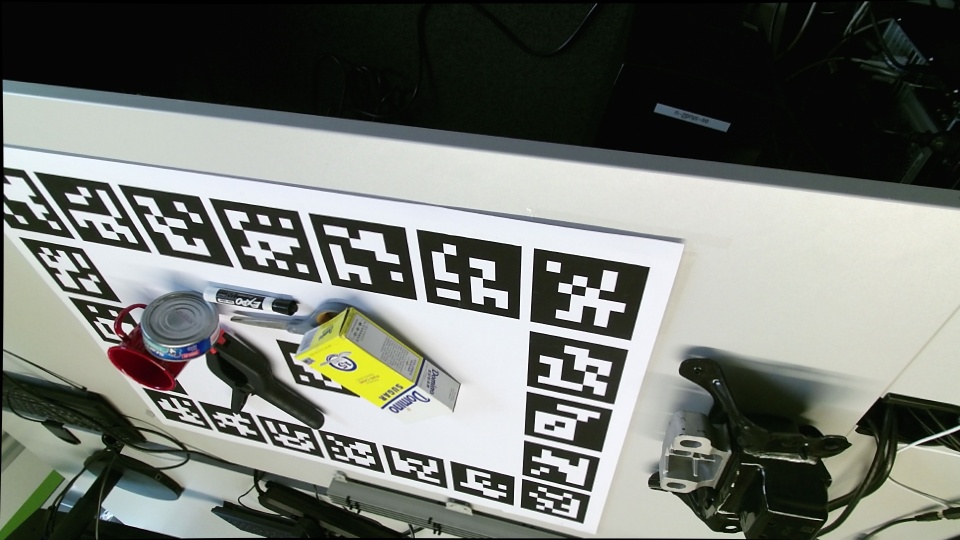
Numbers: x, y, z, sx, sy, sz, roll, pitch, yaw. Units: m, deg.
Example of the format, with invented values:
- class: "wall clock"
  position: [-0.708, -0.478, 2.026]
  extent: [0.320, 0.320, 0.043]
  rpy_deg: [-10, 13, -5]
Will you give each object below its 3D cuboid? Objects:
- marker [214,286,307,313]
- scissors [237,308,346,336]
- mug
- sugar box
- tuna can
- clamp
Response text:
- class: "marker"
  position: [-0.264, 0.036, 0.646]
  extent: [0.121, 0.019, 0.019]
  rpy_deg: [6, 131, 14]
- class: "scissors"
  position: [-0.220, 0.075, 0.662]
  extent: [0.203, 0.016, 0.088]
  rpy_deg: [2, 134, 21]
- class: "mug"
  position: [-0.426, 0.093, 0.718]
  extent: [0.093, 0.081, 0.117]
  rpy_deg: [-13, 128, 30]
- class: "sugar box"
  position: [-0.120, 0.120, 0.643]
  extent: [0.093, 0.045, 0.177]
  rpy_deg: [-23, 125, 35]
- class: "tuna can"
  position: [-0.371, 0.066, 0.666]
  extent: [0.086, 0.085, 0.034]
  rpy_deg: [22, 134, 0]
- class: "clamp"
  position: [-0.329, 0.157, 0.780]
  extent: [0.166, 0.036, 0.203]
  rpy_deg: [2, 130, 19]
